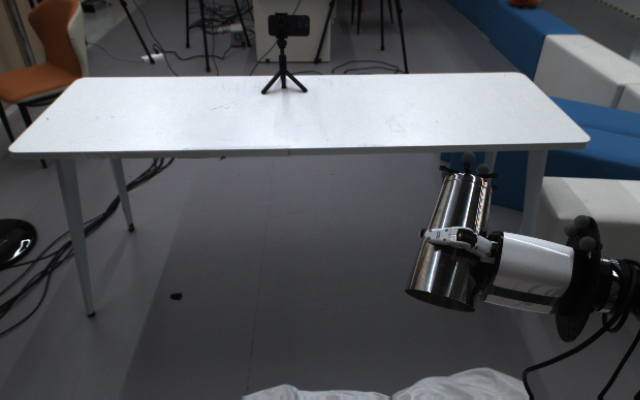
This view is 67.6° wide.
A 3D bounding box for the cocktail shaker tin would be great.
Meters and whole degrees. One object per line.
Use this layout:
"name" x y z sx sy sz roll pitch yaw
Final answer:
"cocktail shaker tin" 0.181 0.054 0.651 0.093 0.093 0.170 14 73 16
